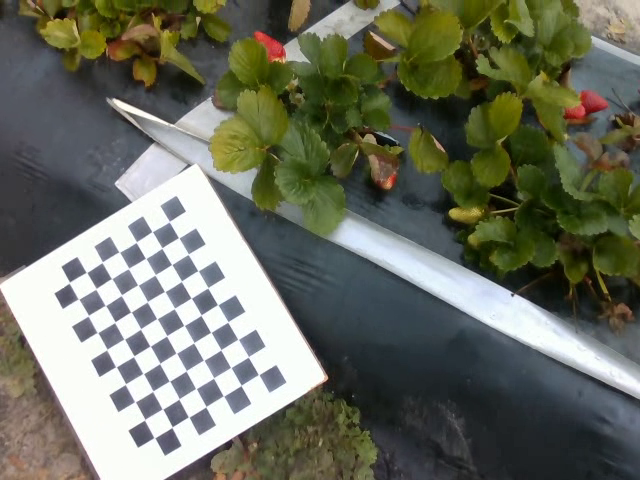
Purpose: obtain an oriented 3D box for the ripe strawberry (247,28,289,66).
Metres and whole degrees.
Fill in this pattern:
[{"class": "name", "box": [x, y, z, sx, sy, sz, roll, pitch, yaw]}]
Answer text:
[{"class": "ripe strawberry", "box": [-0.060, -0.233, 0.721, 0.041, 0.051, 0.037, -36, -6, 4]}]
